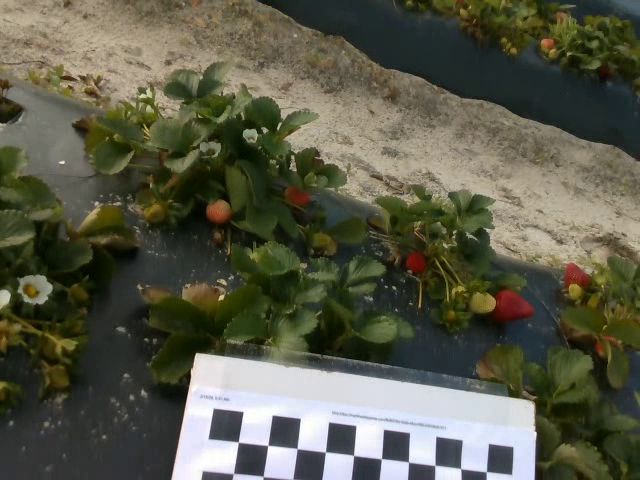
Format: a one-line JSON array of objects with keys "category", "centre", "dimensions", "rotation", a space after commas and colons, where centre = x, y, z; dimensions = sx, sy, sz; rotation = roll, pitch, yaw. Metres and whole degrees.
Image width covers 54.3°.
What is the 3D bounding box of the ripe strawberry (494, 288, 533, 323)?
[{"category": "ripe strawberry", "centre": [0.267, 0.094, 0.847], "dimensions": [0.051, 0.048, 0.055], "rotation": [-48, 34, -20]}]
